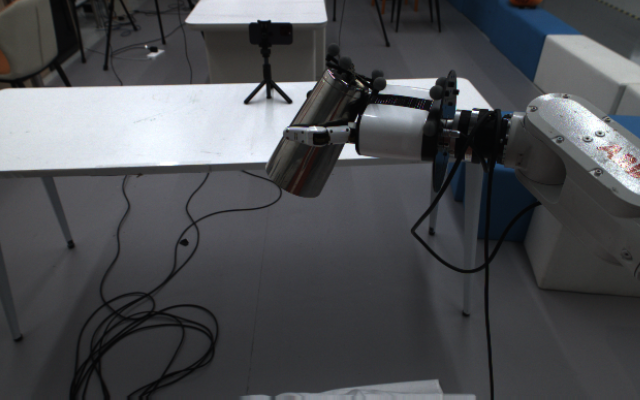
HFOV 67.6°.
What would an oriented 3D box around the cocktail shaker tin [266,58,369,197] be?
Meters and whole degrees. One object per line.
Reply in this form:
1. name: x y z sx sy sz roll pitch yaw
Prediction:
1. cocktail shaker tin: 0.000 -0.101 0.686 0.093 0.170 0.093 25 29 -15
